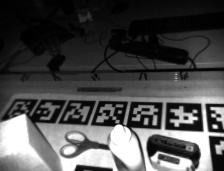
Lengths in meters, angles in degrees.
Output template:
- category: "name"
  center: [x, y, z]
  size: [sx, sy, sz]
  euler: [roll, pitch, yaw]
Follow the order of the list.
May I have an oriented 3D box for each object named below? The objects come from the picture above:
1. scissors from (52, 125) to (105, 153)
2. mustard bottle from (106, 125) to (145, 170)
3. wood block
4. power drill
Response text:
- category: "scissors"
  center: [-0.077, 0.154, 0.606]
  size: [0.201, 0.016, 0.087]
  euler: [1, 44, 17]
- category: "mustard bottle"
  center: [0.027, 0.144, 0.474]
  size: [0.058, 0.193, 0.095]
  euler: [-31, 47, -11]
- category: "wood block"
  center: [-0.192, 0.170, 0.502]
  size: [0.091, 0.208, 0.089]
  euler: [-22, 46, -4]
- category: "power drill"
  center: [0.075, 0.221, 0.470]
  size: [0.182, 0.058, 0.187]
  euler: [10, 58, 25]
